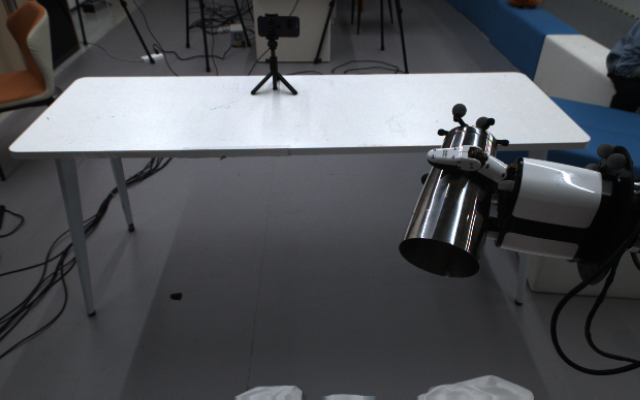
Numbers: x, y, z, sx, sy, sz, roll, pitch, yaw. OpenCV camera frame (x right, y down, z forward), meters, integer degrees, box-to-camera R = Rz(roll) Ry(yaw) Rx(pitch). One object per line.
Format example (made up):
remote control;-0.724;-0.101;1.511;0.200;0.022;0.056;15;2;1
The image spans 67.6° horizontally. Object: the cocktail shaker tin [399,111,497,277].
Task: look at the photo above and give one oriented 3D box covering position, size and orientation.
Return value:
cocktail shaker tin;0.164;-0.005;0.578;0.093;0.093;0.170;15;62;17
